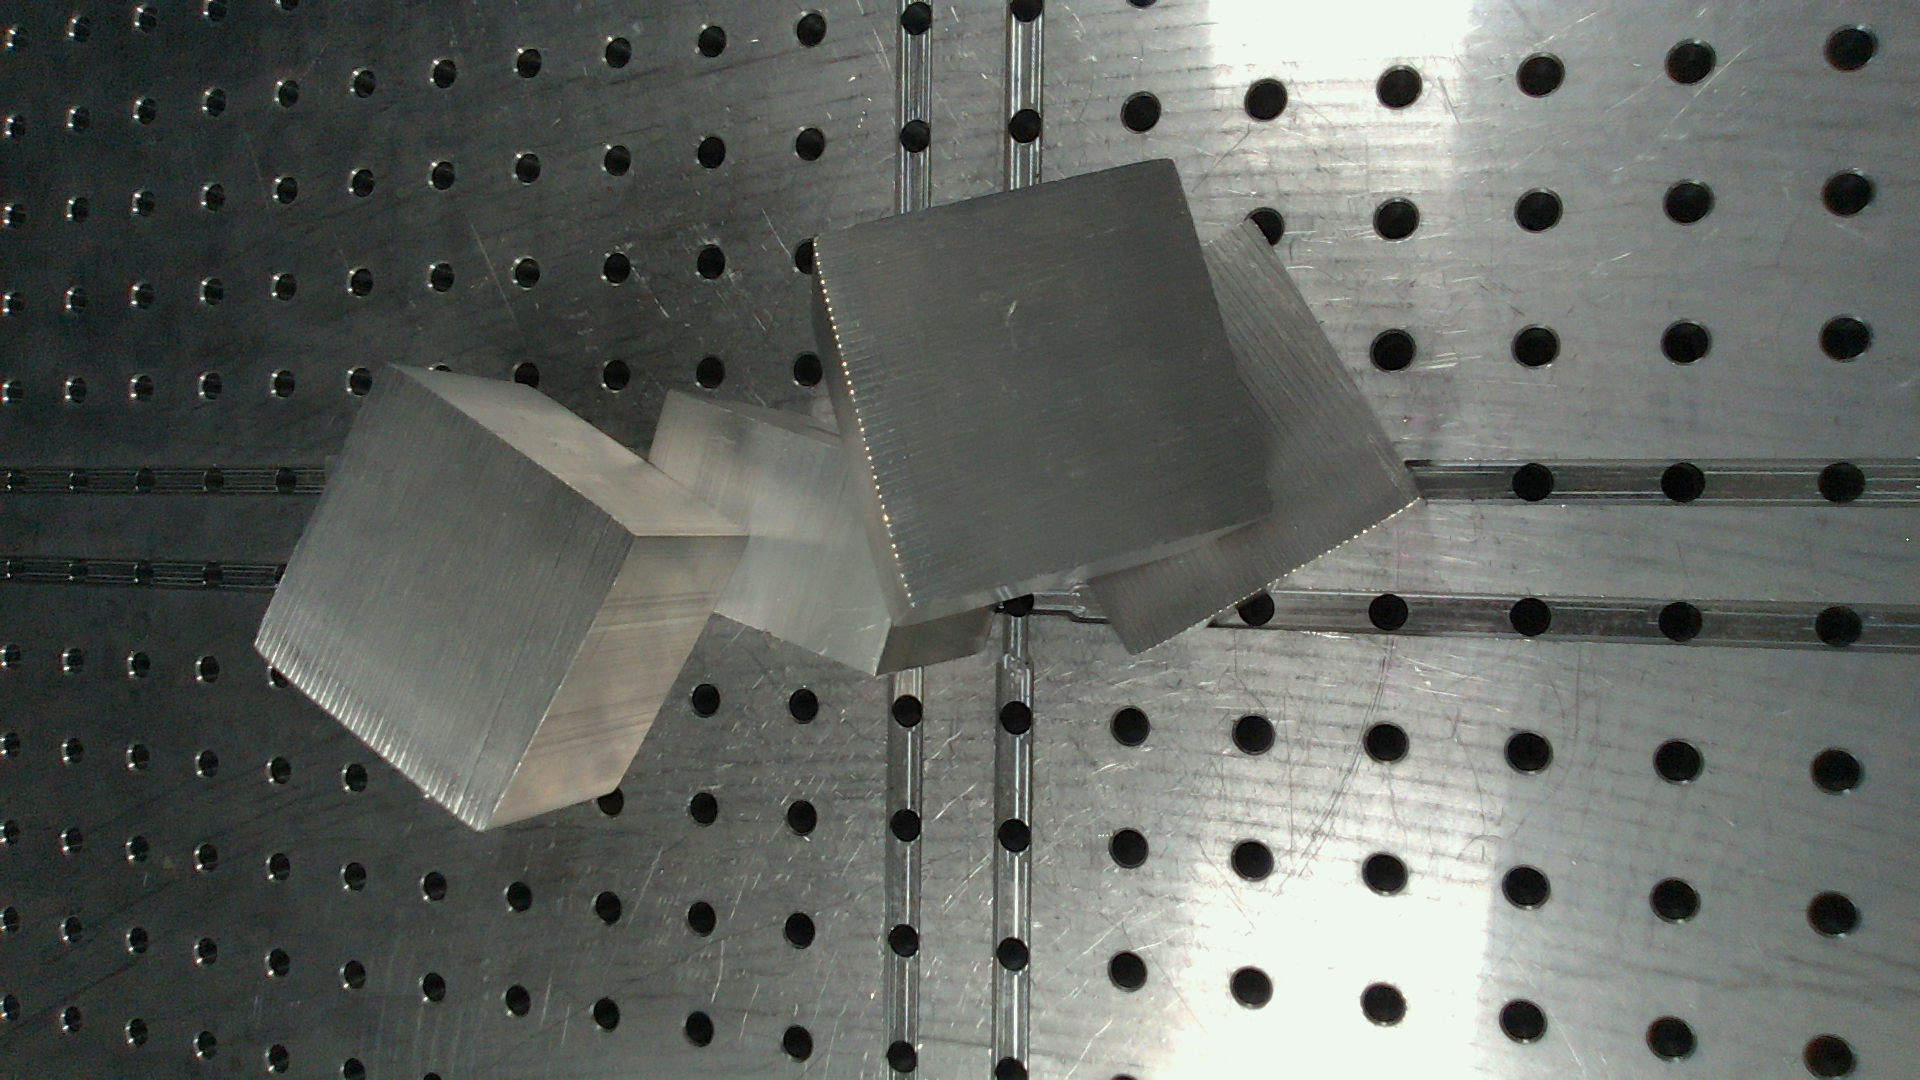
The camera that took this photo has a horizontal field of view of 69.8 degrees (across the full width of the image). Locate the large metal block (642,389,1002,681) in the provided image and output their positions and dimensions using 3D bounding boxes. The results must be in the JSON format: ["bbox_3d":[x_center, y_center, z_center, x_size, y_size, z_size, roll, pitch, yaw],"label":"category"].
[{"bbox_3d":[-0.034,-0.002,0.381,0.080,0.080,0.050,20,97,19],"label":"large metal block"}]

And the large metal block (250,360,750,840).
[{"bbox_3d":[-0.113,0.013,0.339,0.080,0.050,0.080,33,101,18],"label":"large metal block"}]

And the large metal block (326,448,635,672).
[{"bbox_3d":[-0.139,0.013,0.419,0.050,0.080,0.080,-7,88,20],"label":"large metal block"}]

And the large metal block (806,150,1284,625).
[{"bbox_3d":[0.015,-0.031,0.307,0.080,0.050,0.080,-14,85,-10],"label":"large metal block"}]

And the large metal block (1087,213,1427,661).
[{"bbox_3d":[0.066,-0.025,0.361,0.080,0.050,0.080,-32,80,17],"label":"large metal block"}]
